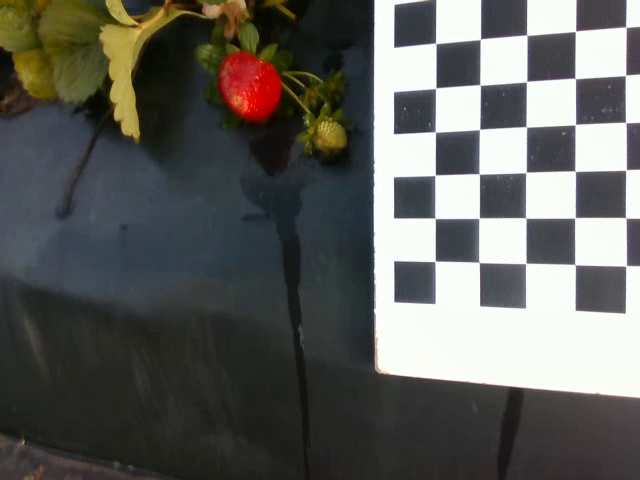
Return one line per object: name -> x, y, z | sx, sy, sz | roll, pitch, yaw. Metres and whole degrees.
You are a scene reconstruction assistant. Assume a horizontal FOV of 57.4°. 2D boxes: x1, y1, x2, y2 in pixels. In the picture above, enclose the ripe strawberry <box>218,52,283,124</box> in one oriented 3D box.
ripe strawberry -> -0.047, -0.096, 0.376 | 0.043, 0.052, 0.057 | -27, 23, 24
